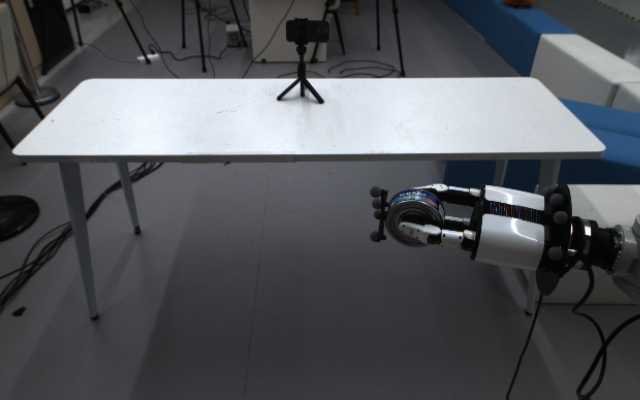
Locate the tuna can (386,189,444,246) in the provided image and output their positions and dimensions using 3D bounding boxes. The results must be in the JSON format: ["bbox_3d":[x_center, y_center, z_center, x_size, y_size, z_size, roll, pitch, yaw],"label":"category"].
[{"bbox_3d":[0.144,0.025,0.717,0.085,0.085,0.034,9,32,10],"label":"tuna can"}]
